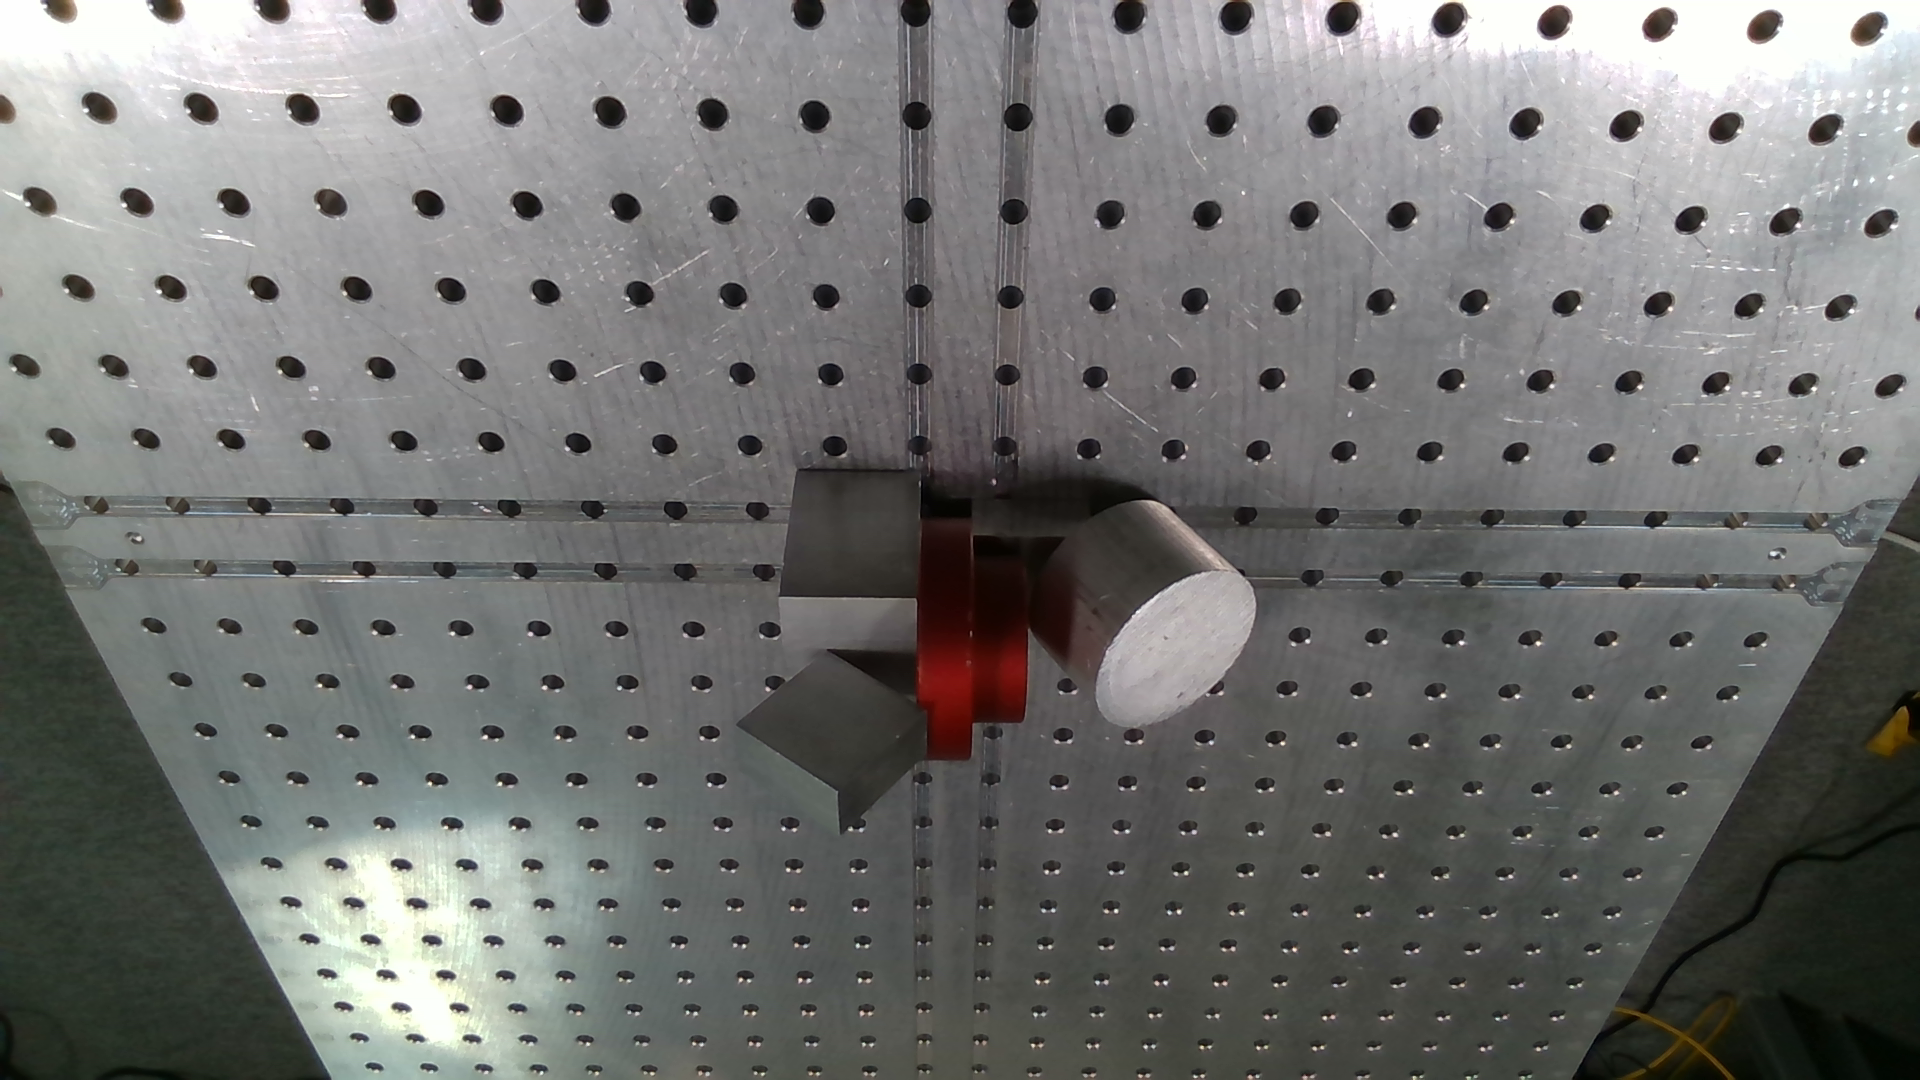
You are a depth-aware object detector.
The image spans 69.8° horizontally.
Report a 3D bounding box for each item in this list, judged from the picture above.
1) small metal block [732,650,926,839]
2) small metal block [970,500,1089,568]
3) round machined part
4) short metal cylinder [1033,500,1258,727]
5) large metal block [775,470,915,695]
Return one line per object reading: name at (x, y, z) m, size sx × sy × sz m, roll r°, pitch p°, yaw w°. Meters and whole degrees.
small metal block at (-0.048, 0.074, 0.510) m, size 0.050 × 0.050 × 0.025 m, roll 28°, pitch 137°, yaw 27°
small metal block at (0.029, 0.010, 0.590) m, size 0.050 × 0.025 × 0.050 m, roll 1°, pitch 130°, yaw 0°
round machined part at (0.004, 0.040, 0.555) m, size 0.042 × 0.098 × 0.098 m, roll 1°, pitch 130°, yaw 0°
short metal cylinder at (0.075, 0.031, 0.570) m, size 0.080 × 0.050 × 0.080 m, roll -21°, pitch 135°, yaw -22°
large metal block at (-0.044, 0.028, 0.568) m, size 0.050 × 0.080 × 0.080 m, roll 1°, pitch 130°, yaw -1°
